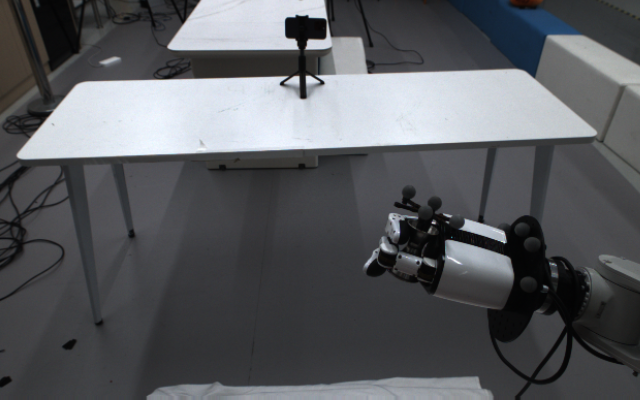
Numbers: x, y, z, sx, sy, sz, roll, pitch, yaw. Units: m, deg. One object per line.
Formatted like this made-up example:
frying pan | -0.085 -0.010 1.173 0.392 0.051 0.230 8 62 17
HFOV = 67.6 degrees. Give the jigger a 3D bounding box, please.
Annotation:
jigger | 0.116 0.062 0.602 0.043 0.071 0.043 18 17 -6
